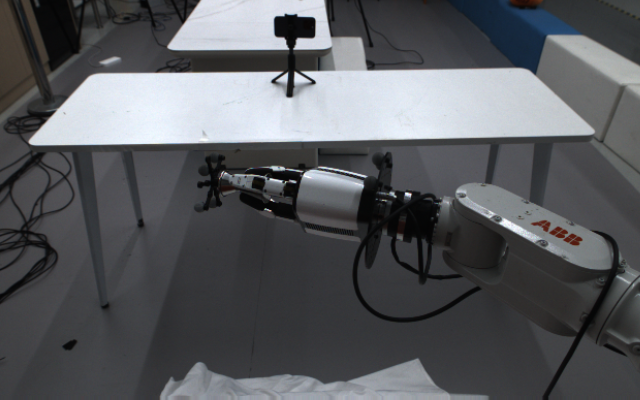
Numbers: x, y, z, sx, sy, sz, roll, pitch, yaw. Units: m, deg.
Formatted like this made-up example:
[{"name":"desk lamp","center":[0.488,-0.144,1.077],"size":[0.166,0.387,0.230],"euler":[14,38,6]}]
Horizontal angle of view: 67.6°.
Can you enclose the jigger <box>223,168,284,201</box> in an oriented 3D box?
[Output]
[{"name":"jigger","center":[-0.101,-0.023,0.696],"size":[0.071,0.043,0.043],"euler":[7,35,14]}]
